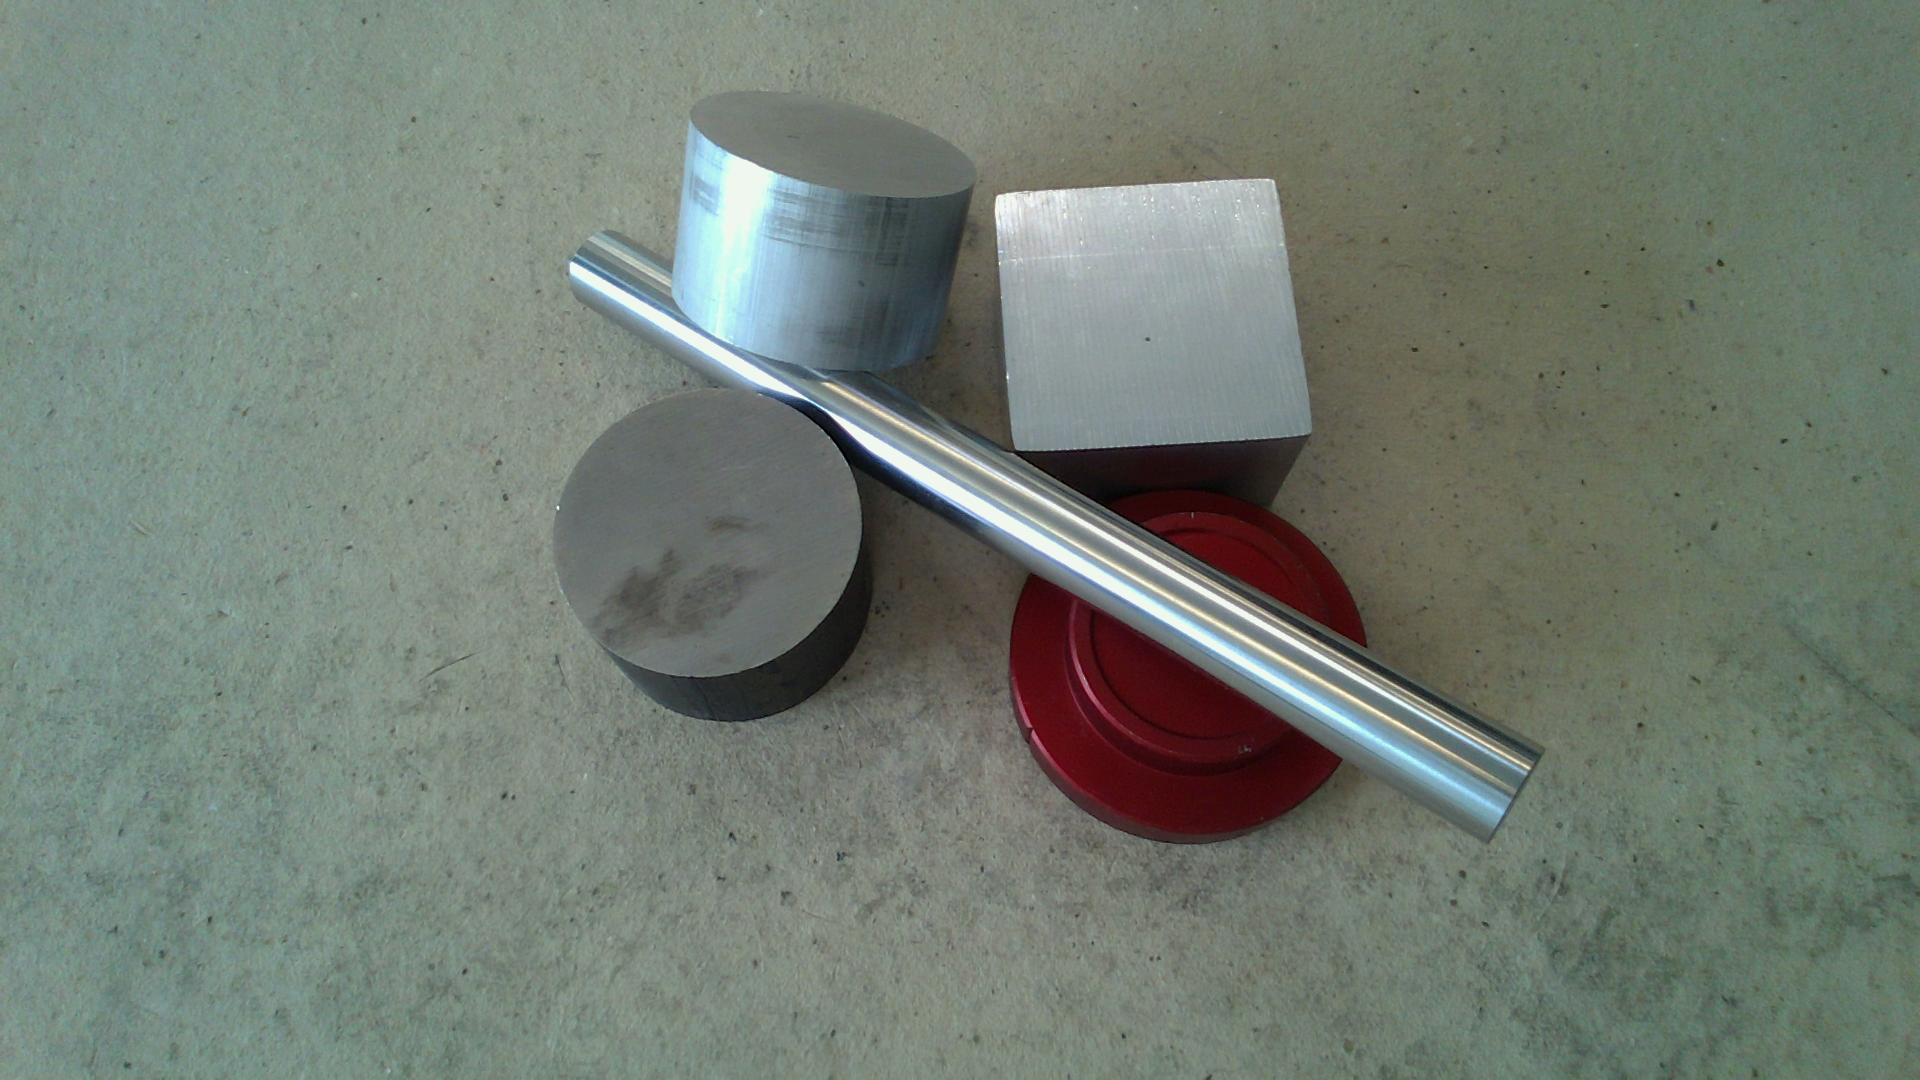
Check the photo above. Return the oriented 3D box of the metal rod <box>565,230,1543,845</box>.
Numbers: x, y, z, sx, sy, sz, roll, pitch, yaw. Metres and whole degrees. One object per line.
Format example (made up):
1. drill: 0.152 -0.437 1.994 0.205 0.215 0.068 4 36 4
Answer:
1. metal rod: 0.005 -0.014 0.364 0.299 0.025 0.025 31 72 24

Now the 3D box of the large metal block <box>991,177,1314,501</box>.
1. large metal block: 0.052 -0.055 0.400 0.080 0.050 0.080 -3 70 -1

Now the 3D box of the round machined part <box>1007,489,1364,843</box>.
1. round machined part: 0.062 0.031 0.374 0.098 0.042 0.098 0 70 0

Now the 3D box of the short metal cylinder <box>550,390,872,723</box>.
1. short metal cylinder: -0.066 0.006 0.380 0.080 0.050 0.080 0 70 0

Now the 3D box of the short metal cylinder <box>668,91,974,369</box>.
1. short metal cylinder: -0.041 -0.090 0.394 0.080 0.050 0.080 11 31 -7
